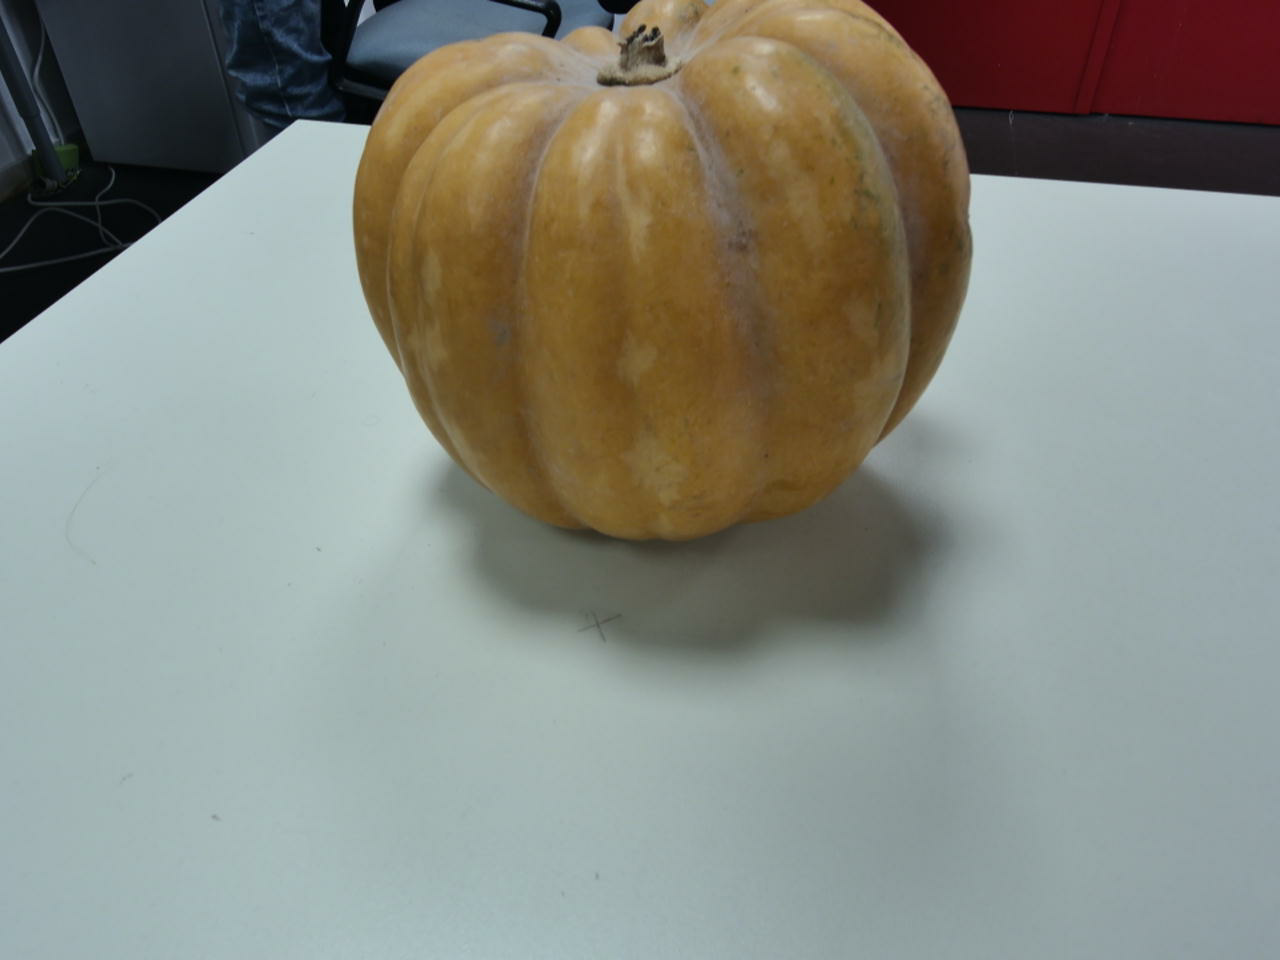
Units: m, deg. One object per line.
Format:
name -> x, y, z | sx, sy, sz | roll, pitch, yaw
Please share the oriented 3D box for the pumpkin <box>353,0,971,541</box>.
pumpkin -> 0.011, -0.082, 0.388 | 0.230, 0.194, 0.230 | 0, 39, 0
